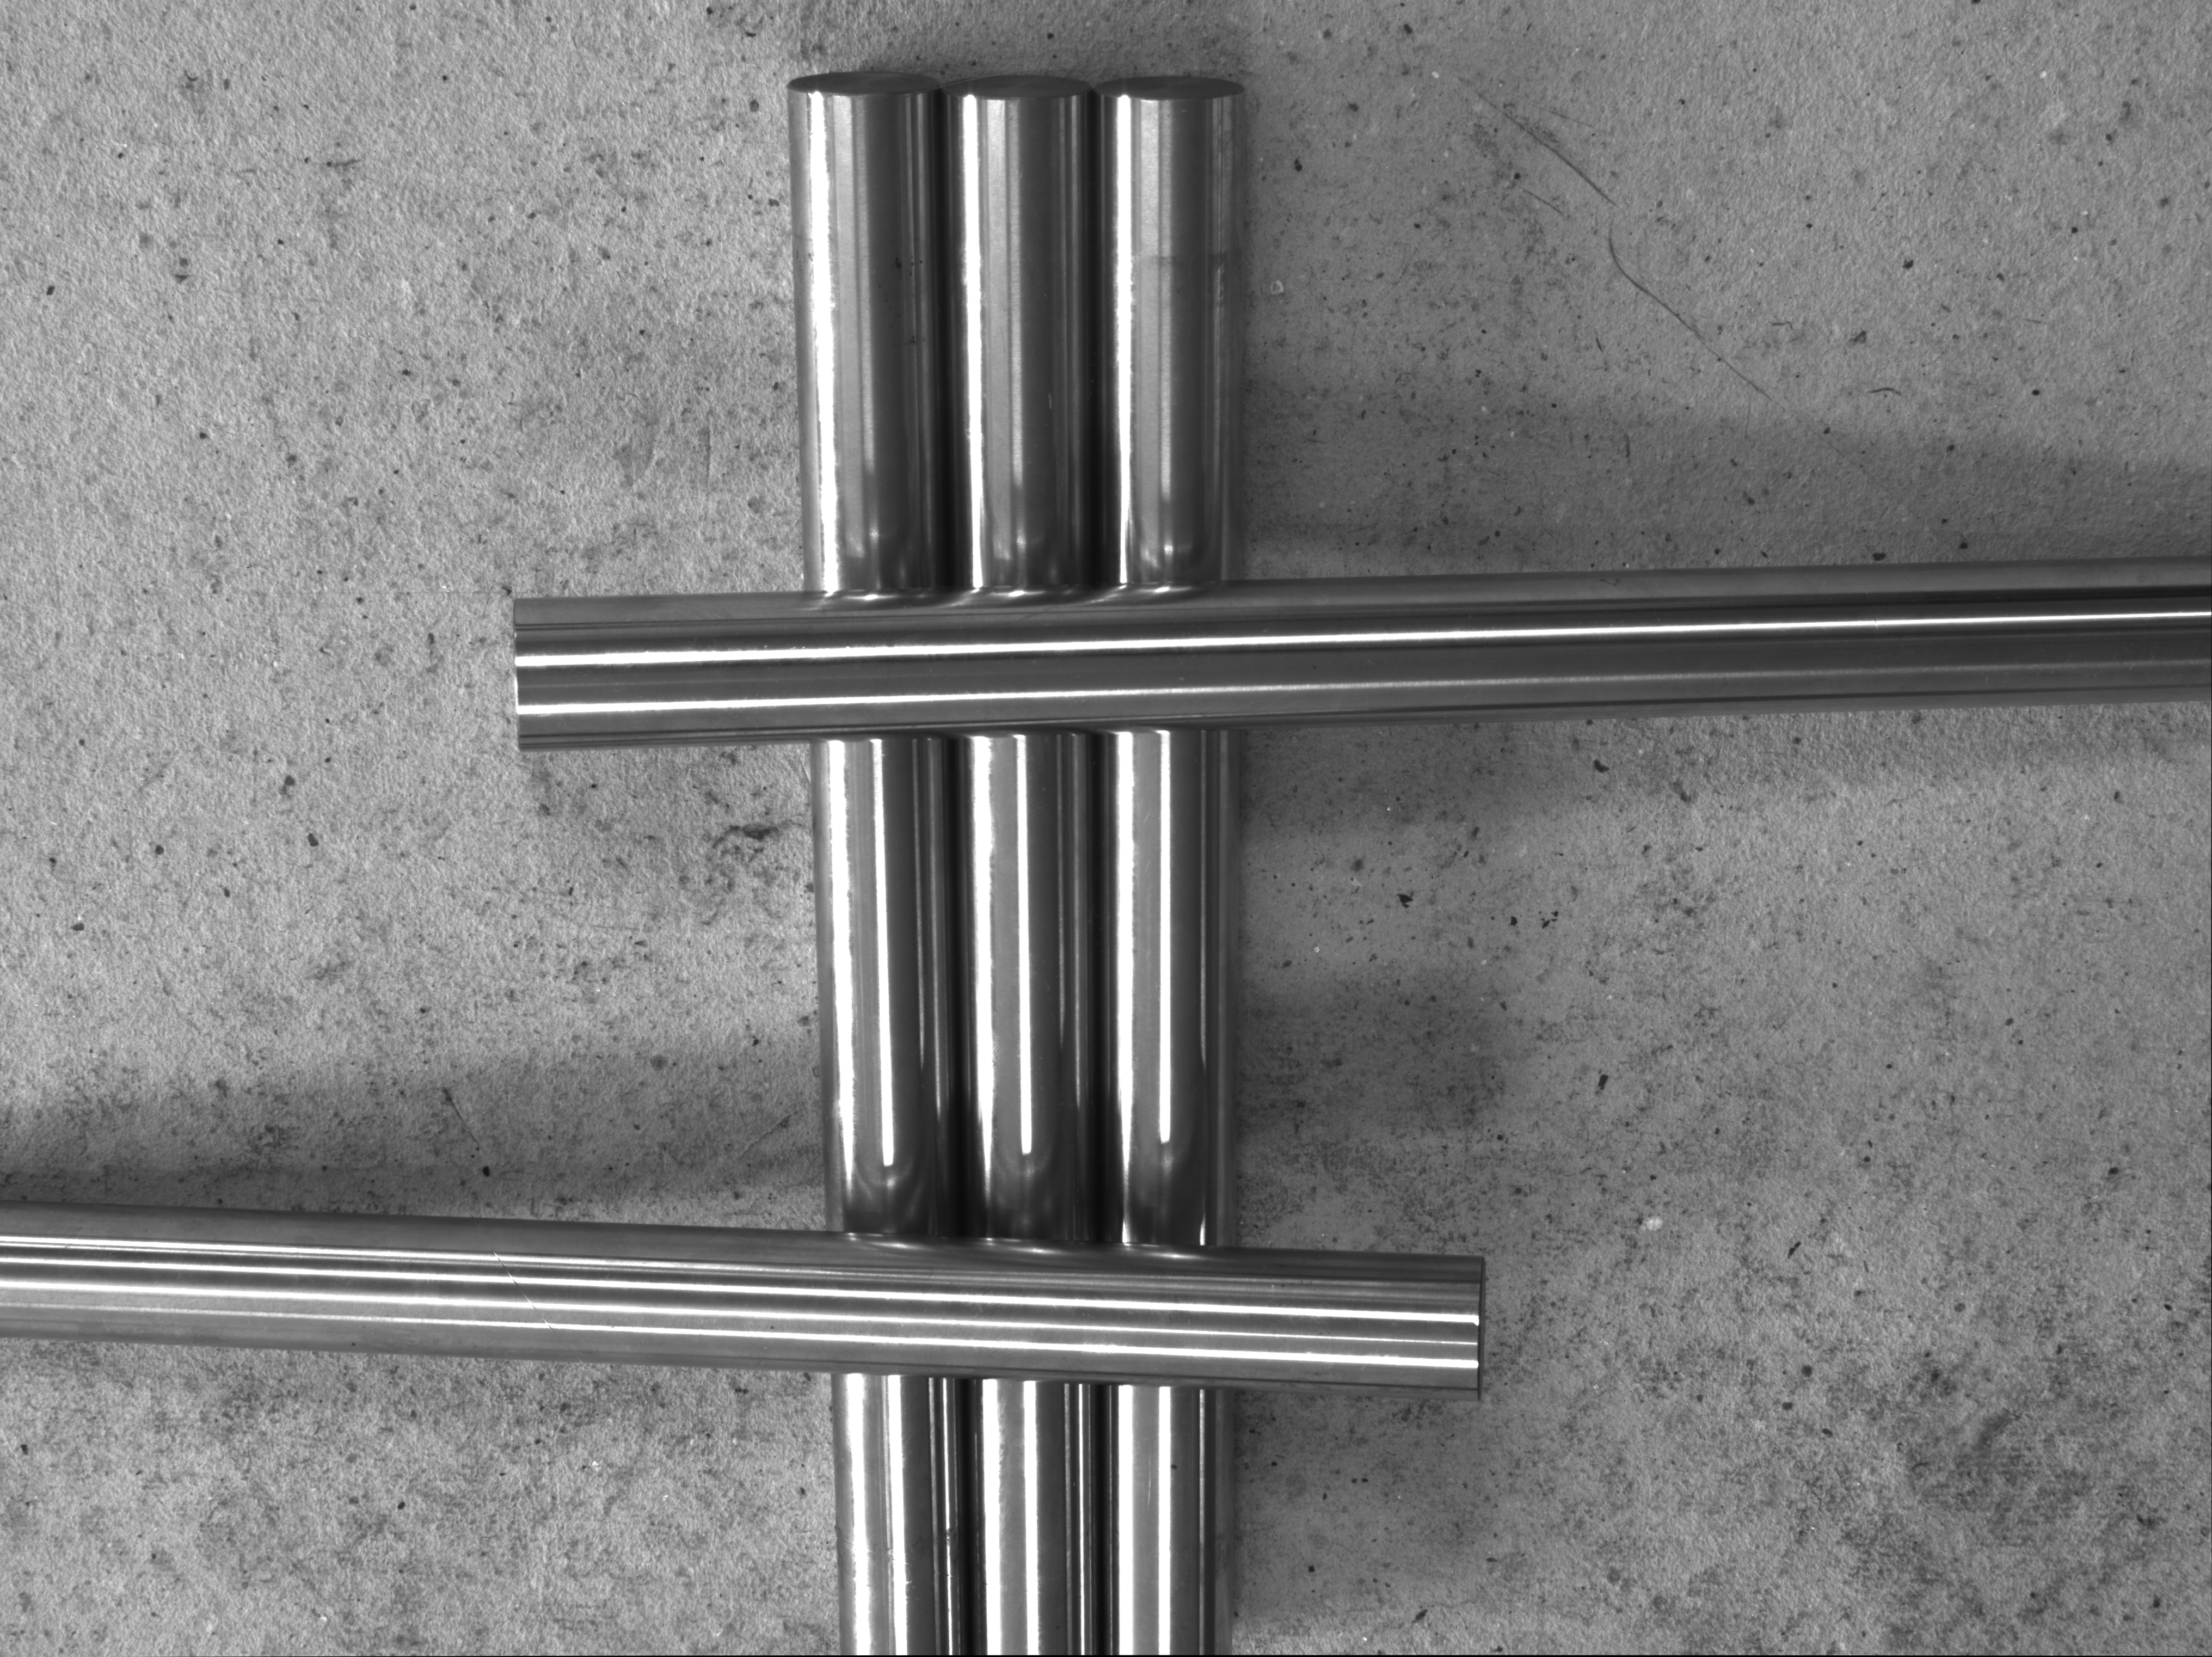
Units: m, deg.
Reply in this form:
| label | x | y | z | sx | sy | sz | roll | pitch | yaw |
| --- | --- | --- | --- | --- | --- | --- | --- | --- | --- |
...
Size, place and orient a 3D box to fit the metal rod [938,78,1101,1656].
| label | x | y | z | sx | sy | sz | roll | pitch | yaw |
| --- | --- | --- | --- | --- | --- | --- | --- | --- | --- |
| metal rod | -0.014 | 0.020 | 0.650 | 0.025 | 0.025 | 0.300 | 0 | 110 | 0 |

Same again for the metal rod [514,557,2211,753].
| label | x | y | z | sx | sy | sz | roll | pitch | yaw |
| --- | --- | --- | --- | --- | --- | --- | --- | --- | --- |
| metal rod | 0.054 | -0.030 | 0.612 | 0.300 | 0.025 | 0.025 | -2 | 110 | -8 |

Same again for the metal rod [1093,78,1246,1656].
| label | x | y | z | sx | sy | sz | roll | pitch | yaw |
| --- | --- | --- | --- | --- | --- | --- | --- | --- | --- |
| metal rod | 0.011 | 0.020 | 0.650 | 0.025 | 0.025 | 0.300 | 0 | 110 | 0 |

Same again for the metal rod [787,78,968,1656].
| label | x | y | z | sx | sy | sz | roll | pitch | yaw |
| --- | --- | --- | --- | --- | --- | --- | --- | --- | --- |
| metal rod | -0.039 | 0.020 | 0.650 | 0.025 | 0.025 | 0.300 | 0 | 110 | 0 |

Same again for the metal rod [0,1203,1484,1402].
| label | x | y | z | sx | sy | sz | roll | pitch | yaw |
| --- | --- | --- | --- | --- | --- | --- | --- | --- | --- |
| metal rod | -0.084 | 0.083 | 0.653 | 0.300 | 0.025 | 0.025 | 1 | 110 | 7 |
